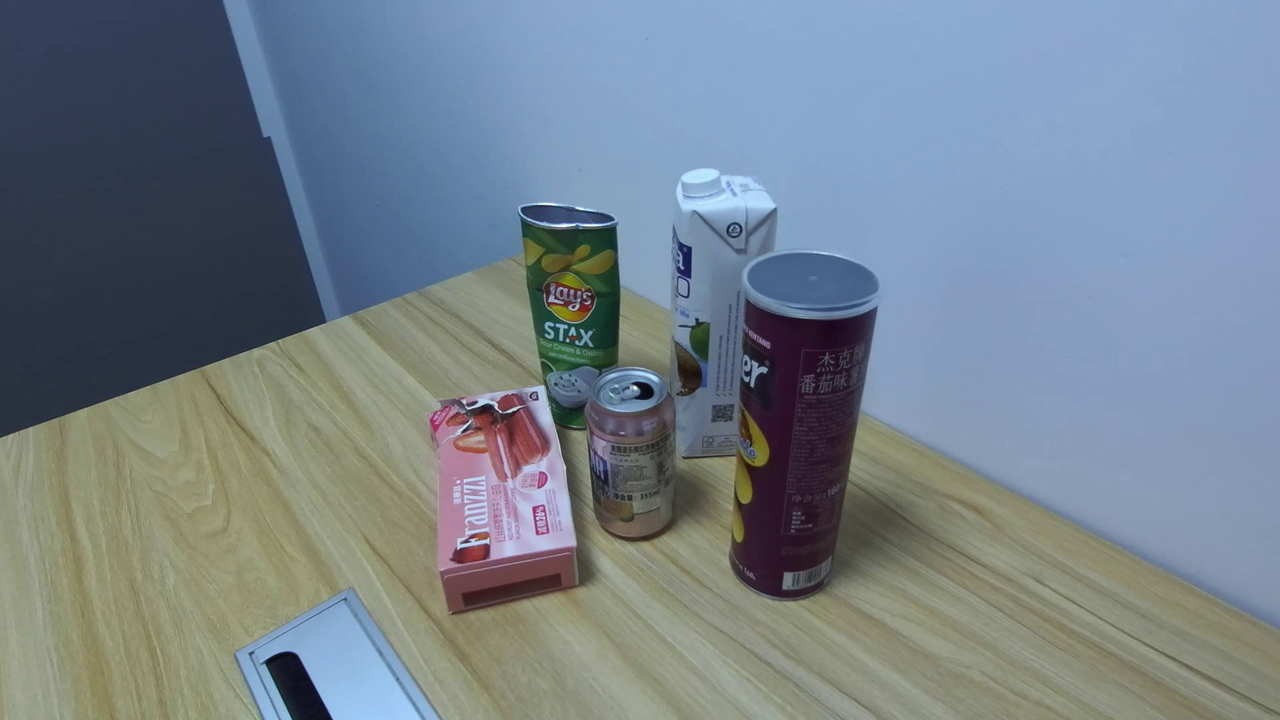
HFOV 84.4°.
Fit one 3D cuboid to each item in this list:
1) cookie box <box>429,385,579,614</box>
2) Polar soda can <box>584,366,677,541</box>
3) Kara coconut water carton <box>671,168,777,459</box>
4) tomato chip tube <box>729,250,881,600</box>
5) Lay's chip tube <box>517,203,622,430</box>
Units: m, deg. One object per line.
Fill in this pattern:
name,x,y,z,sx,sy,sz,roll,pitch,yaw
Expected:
cookie box,-0.110,0.099,0.559,0.105,0.059,0.185,-11,36,-10
Polar soda can,-0.006,0.072,0.539,0.067,0.126,0.067,-2,33,1
Kara coconut water carton,0.065,-0.036,0.582,0.075,0.245,0.077,-3,34,-4
tomato chip tube,0.101,0.052,0.458,0.078,0.234,0.078,-2,34,2
Lay's chip tube,-0.056,-0.036,0.630,0.075,0.200,0.068,-10,33,-11
